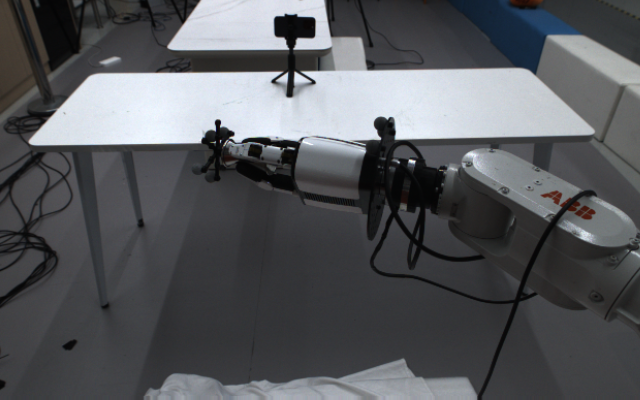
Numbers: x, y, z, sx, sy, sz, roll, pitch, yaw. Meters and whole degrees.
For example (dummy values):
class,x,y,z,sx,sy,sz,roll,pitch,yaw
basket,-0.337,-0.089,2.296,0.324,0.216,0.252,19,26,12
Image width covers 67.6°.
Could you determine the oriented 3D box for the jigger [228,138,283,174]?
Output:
class,x,y,z,sx,sy,sz,roll,pitch,yaw
jigger,-0.091,-0.064,0.668,0.071,0.043,0.043,10,35,16
